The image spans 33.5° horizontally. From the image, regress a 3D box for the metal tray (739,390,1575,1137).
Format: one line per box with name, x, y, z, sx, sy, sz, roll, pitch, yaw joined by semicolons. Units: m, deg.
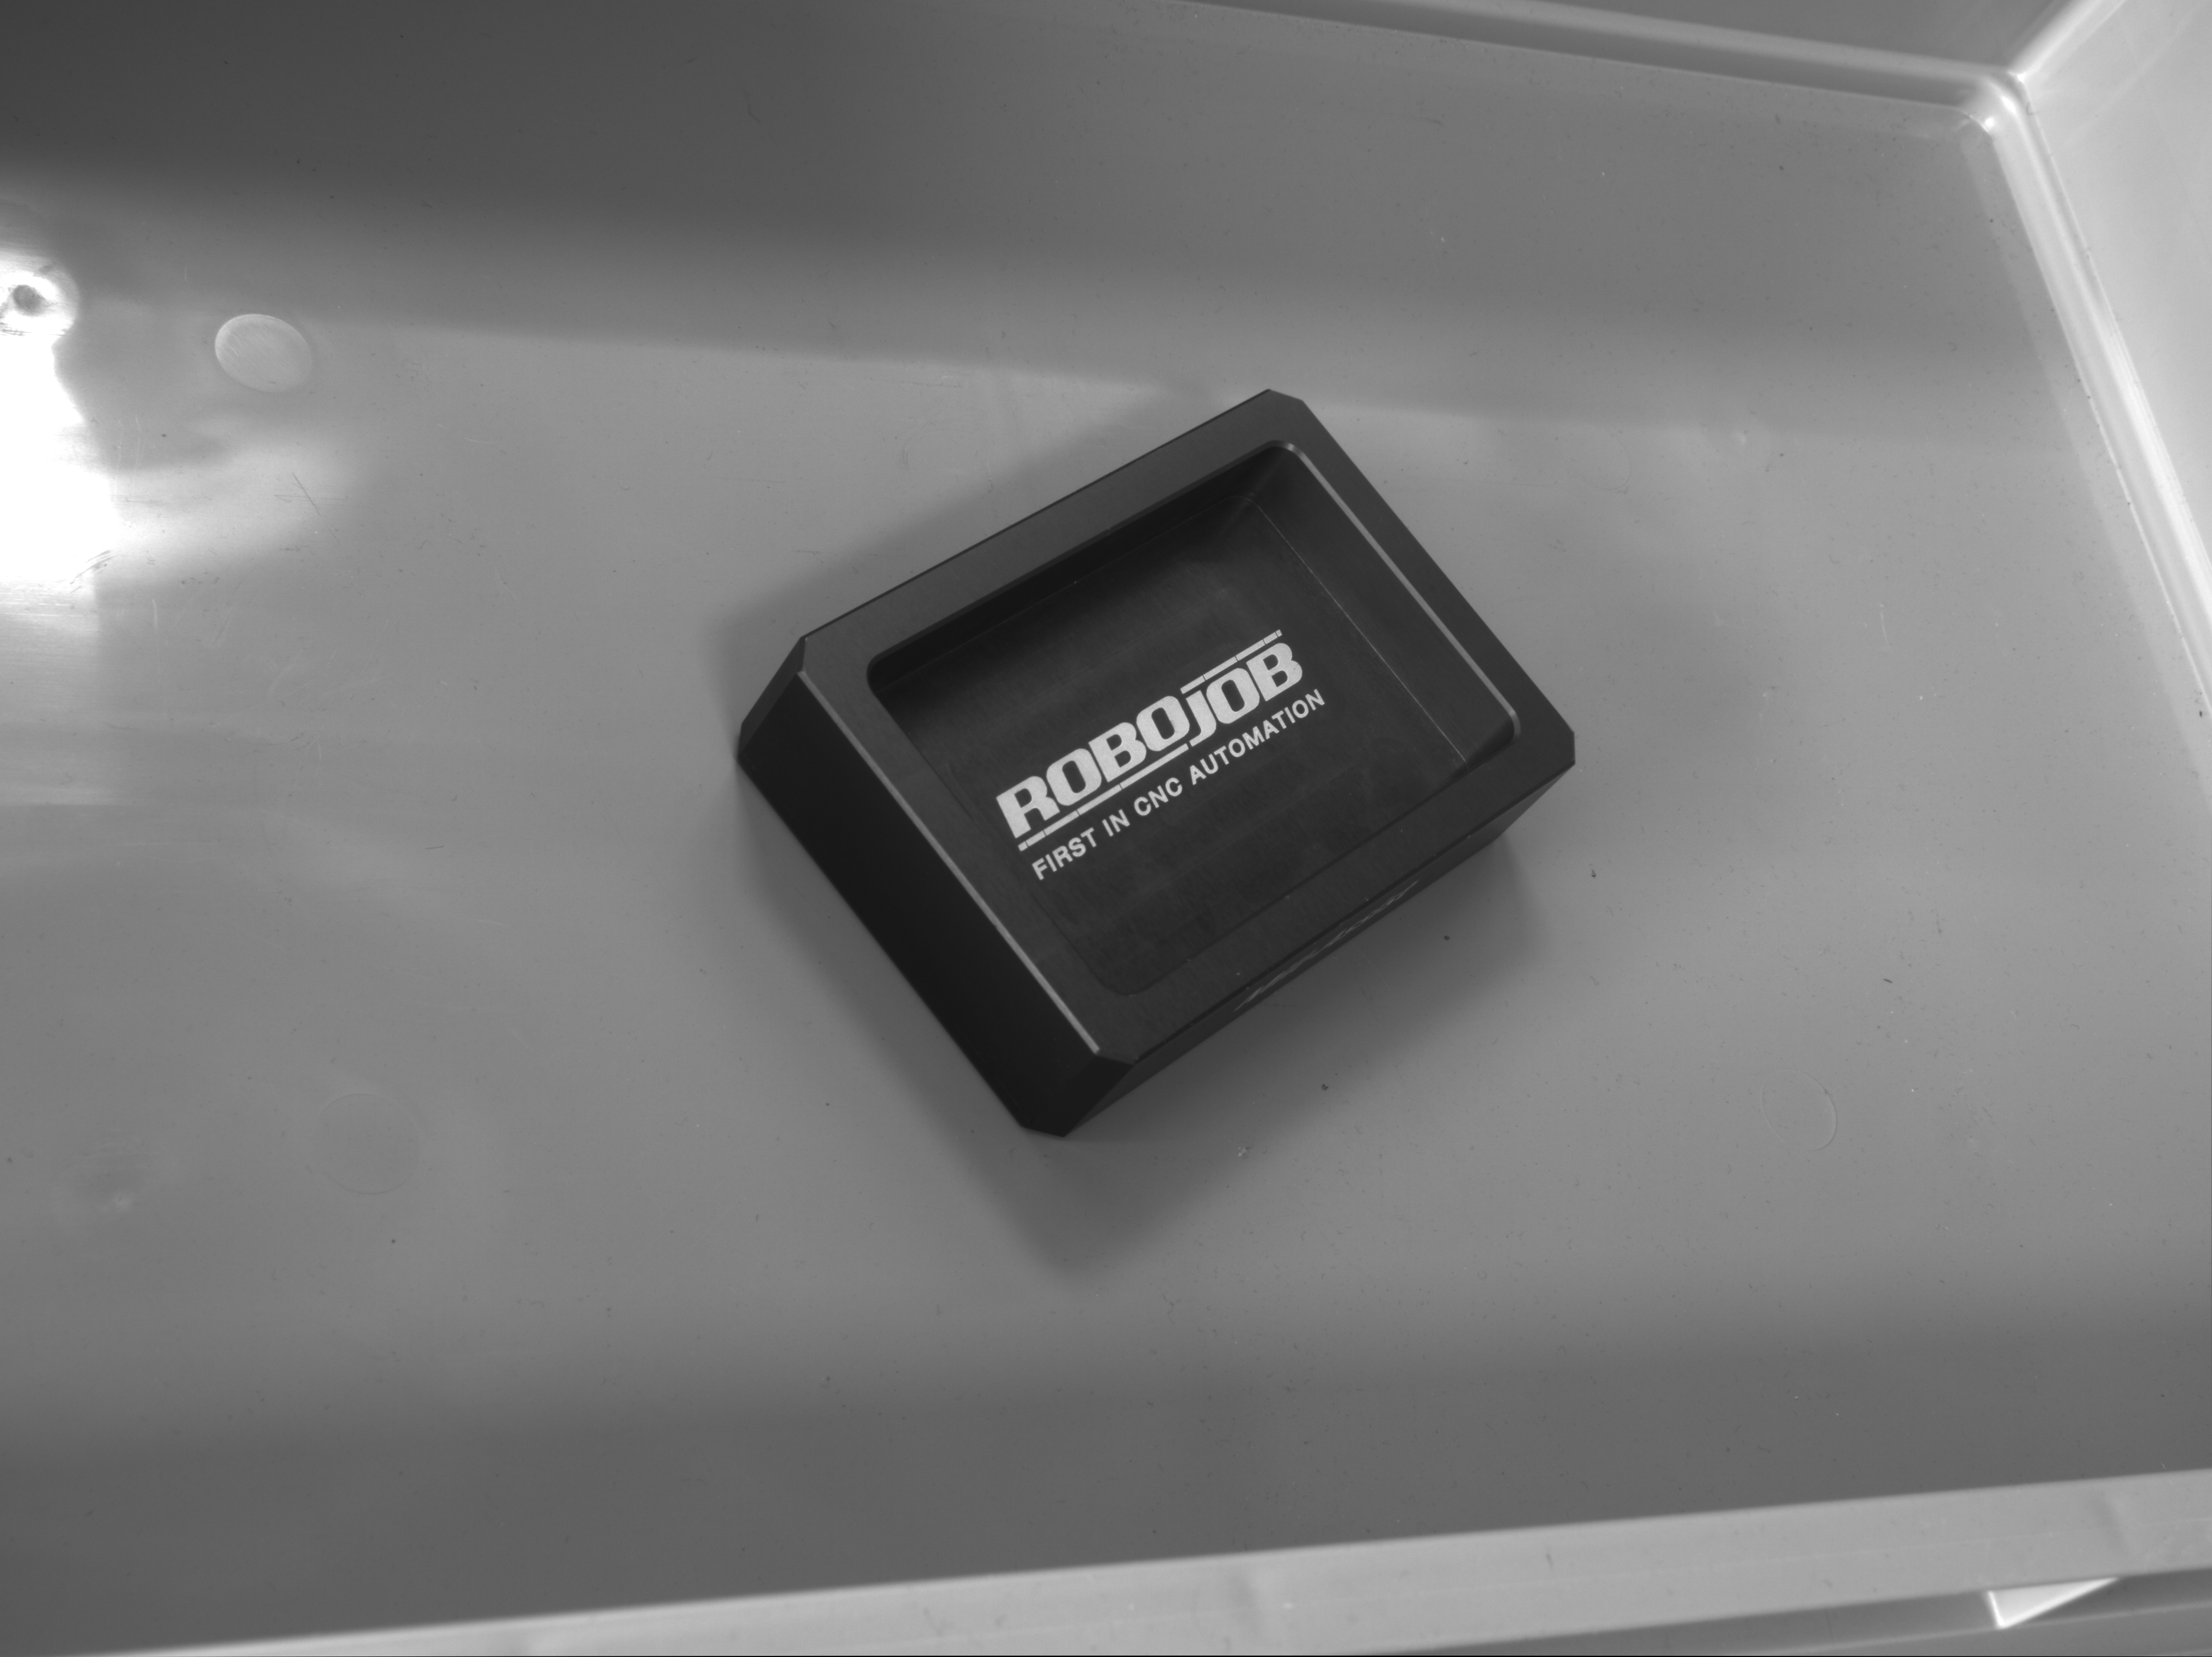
metal tray;0.012;-0.015;0.648;0.130;0.030;0.090;-32;80;-38
